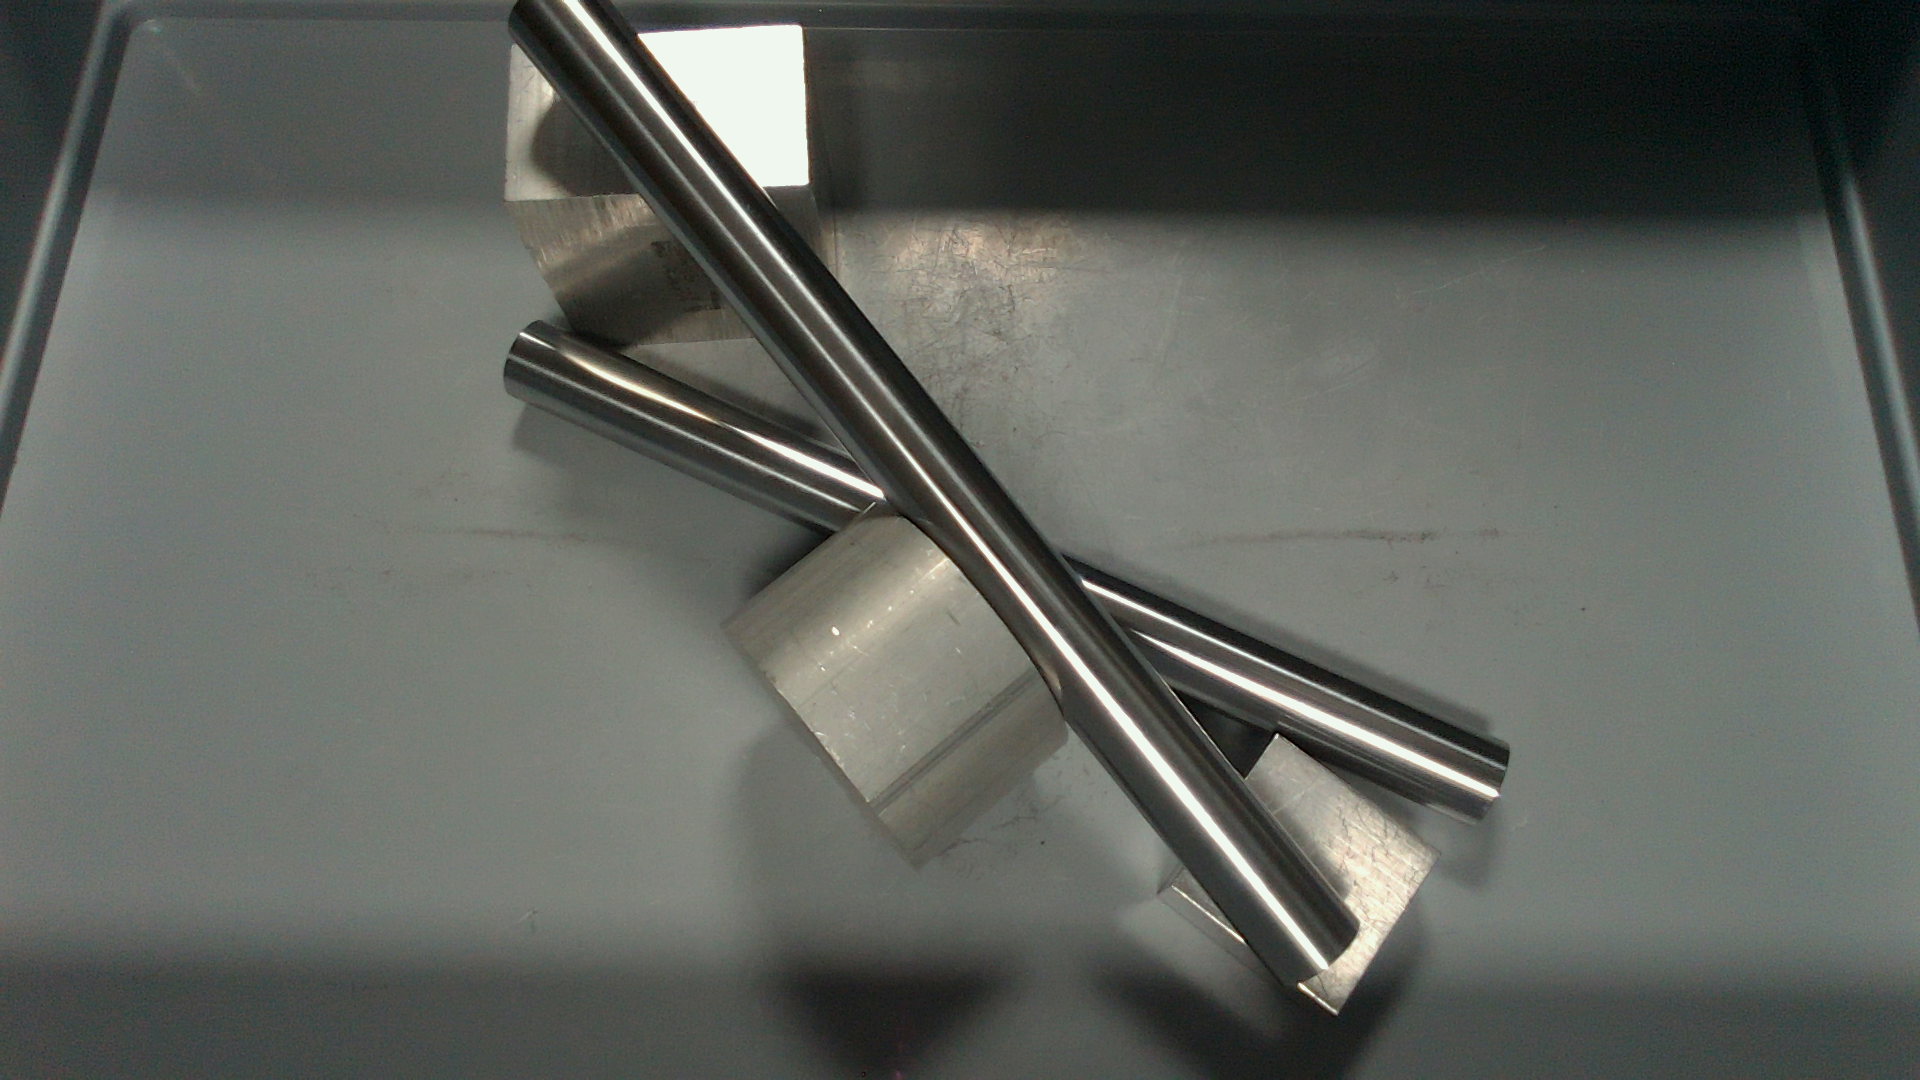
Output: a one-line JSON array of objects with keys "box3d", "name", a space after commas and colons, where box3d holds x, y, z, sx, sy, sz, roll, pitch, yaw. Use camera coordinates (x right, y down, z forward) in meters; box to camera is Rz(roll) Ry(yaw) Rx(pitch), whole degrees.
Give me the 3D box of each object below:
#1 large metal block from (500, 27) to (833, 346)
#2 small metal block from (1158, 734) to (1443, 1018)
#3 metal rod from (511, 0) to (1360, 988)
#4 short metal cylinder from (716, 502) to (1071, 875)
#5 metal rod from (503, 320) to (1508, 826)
[{"box3d": [-0.080, -0.100, 0.401, 0.080, 0.080, 0.050, -4, 70, -1], "name": "large metal block"}, {"box3d": [0.088, 0.088, 0.361, 0.050, 0.025, 0.050, 36, 74, 12], "name": "small metal block"}, {"box3d": [-0.008, -0.018, 0.338, 0.025, 0.025, 0.300, -38, 87, -13], "name": "metal rod"}, {"box3d": [-0.017, 0.037, 0.350, 0.050, 0.080, 0.080, -38, 74, -13], "name": "short metal cylinder"}, {"box3d": [0.006, 0.005, 0.392, 0.300, 0.025, 0.025, 24, 72, 8], "name": "metal rod"}]
